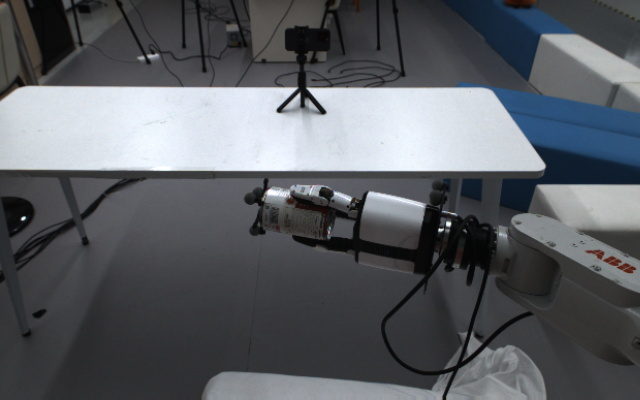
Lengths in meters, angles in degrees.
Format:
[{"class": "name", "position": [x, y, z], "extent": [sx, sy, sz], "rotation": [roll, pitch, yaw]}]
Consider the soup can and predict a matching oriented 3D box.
[{"class": "soup can", "position": [-0.029, 0.021, 0.718], "extent": [0.101, 0.067, 0.067], "rotation": [9, 35, 9]}]
